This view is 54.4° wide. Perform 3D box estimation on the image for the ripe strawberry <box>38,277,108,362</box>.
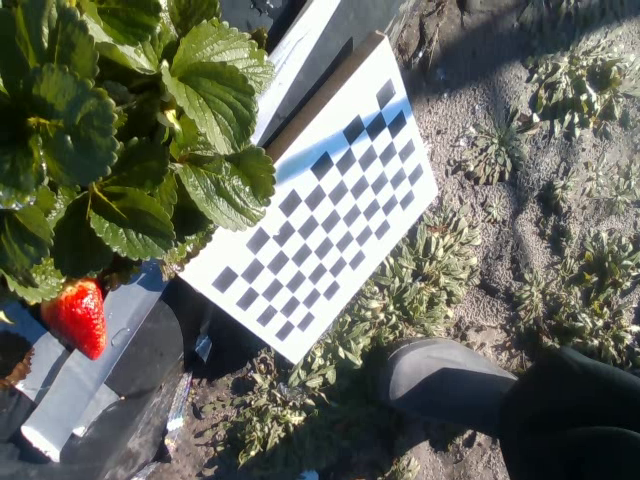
[{"bbox_3d":[-0.198,0.069,0.526,0.061,0.065,0.057,-30,5,-36],"label":"ripe strawberry"}]
